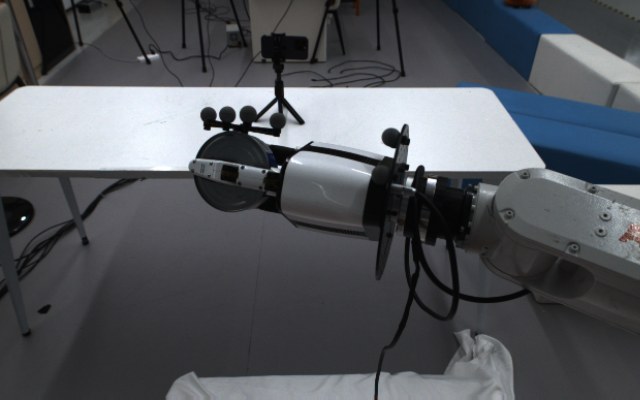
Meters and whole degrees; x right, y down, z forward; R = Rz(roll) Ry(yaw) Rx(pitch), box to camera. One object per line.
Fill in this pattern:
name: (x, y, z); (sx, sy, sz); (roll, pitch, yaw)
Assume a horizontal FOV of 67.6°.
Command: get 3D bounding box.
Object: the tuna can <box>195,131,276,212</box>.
tuna can: (-0.088, -0.031, 0.524); (0.085, 0.085, 0.034); (11, 4, 13)
